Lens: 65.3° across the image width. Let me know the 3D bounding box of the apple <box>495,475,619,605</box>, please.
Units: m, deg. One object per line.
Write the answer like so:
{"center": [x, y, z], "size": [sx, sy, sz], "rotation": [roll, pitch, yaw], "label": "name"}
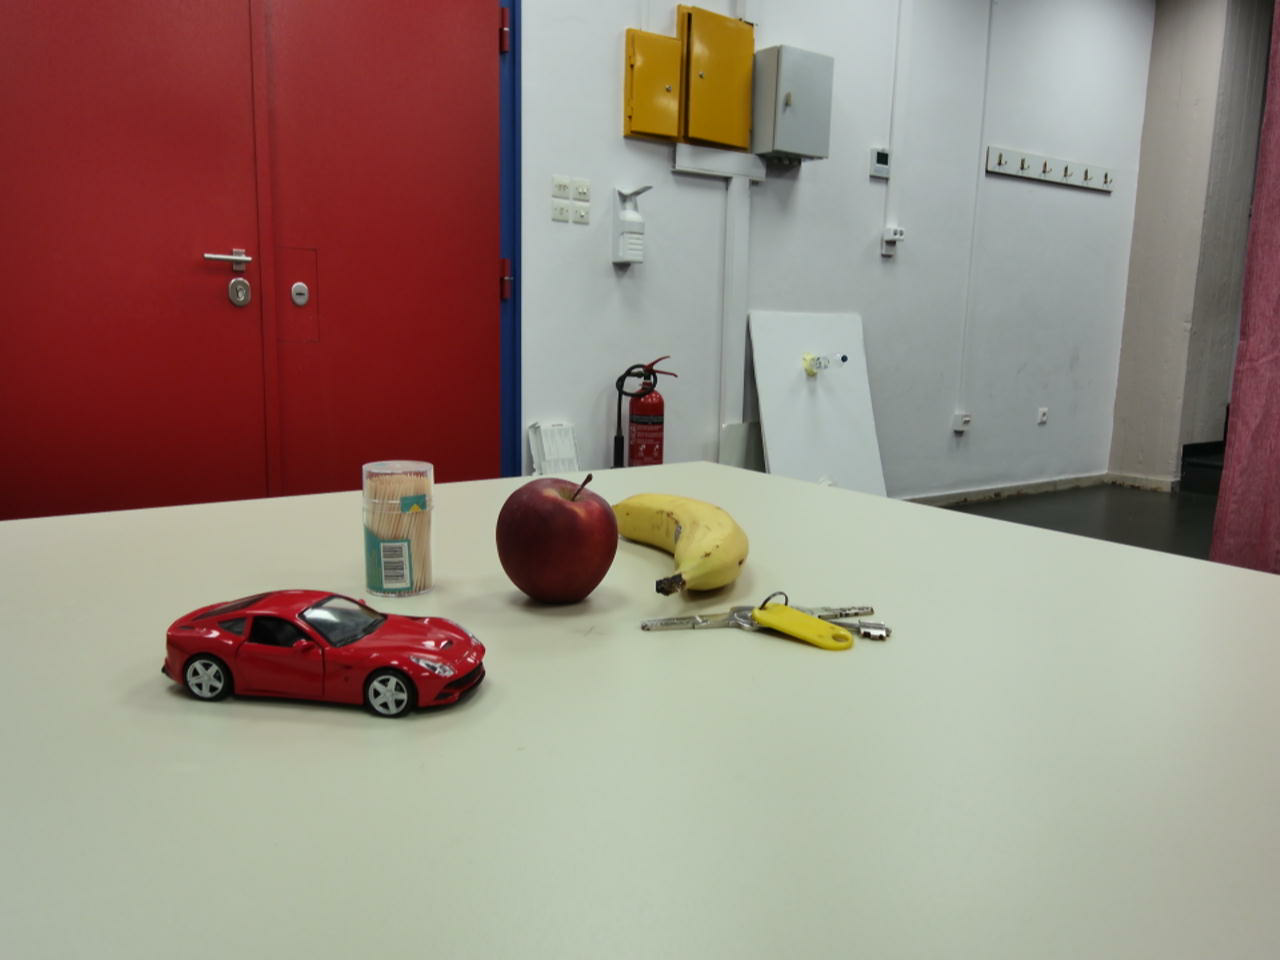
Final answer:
{"center": [-0.048, 0.033, 0.573], "size": [0.070, 0.072, 0.070], "rotation": [0, 8, 0], "label": "apple"}
